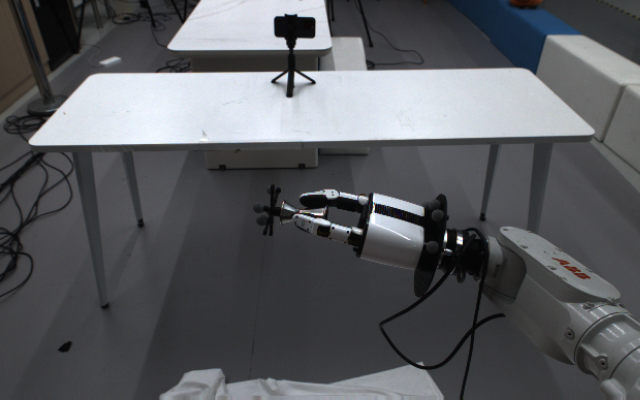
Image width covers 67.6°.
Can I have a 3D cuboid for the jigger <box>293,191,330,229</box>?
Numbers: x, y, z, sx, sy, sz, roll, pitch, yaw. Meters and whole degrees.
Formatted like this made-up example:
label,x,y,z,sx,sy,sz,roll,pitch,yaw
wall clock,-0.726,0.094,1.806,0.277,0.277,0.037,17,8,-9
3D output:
label,x,y,z,sx,sy,sz,roll,pitch,yaw
jigger,-0.017,0.019,0.745,0.071,0.043,0.043,7,35,7
